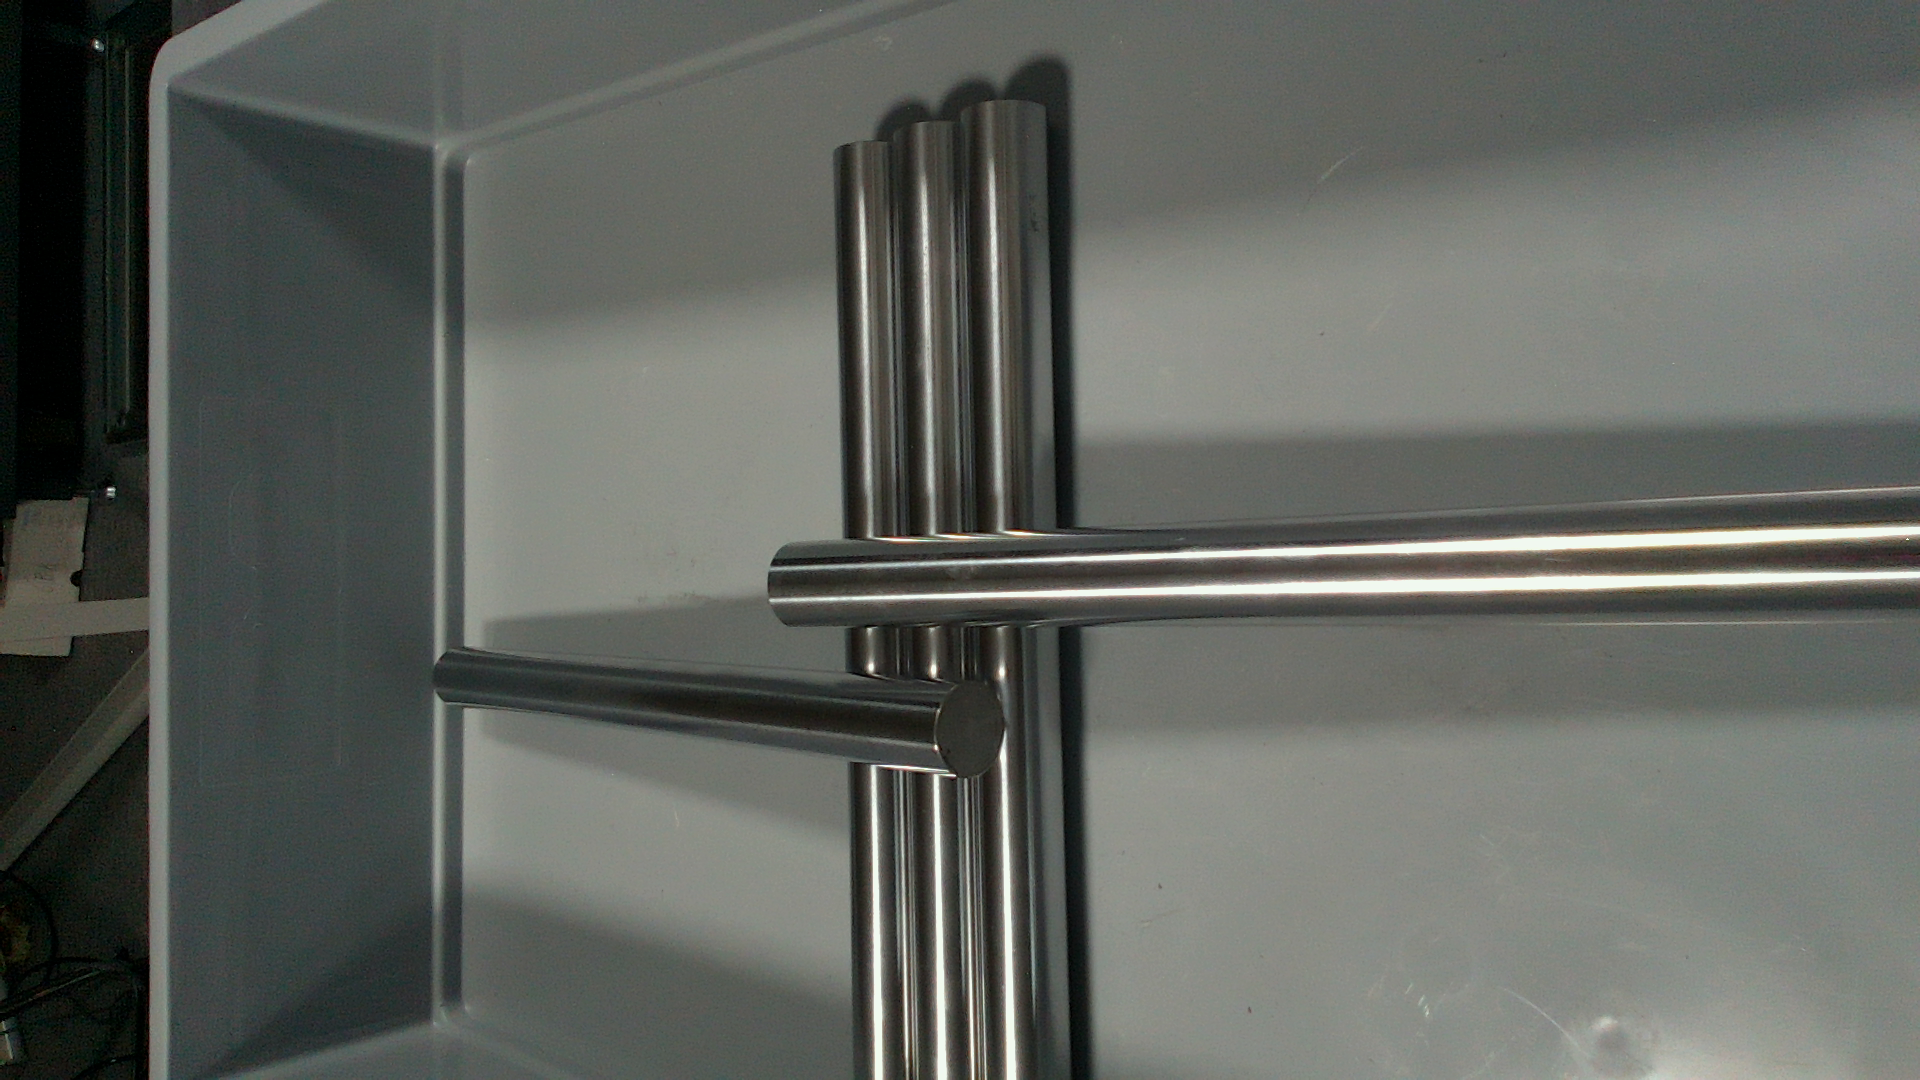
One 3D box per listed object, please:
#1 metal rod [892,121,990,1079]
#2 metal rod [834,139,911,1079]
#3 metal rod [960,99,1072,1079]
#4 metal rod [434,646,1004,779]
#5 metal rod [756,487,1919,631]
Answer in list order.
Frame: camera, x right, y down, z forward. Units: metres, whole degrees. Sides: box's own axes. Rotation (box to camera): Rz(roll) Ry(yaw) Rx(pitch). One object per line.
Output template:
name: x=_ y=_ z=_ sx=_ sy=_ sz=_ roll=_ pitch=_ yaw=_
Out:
metal rod: x=-0.004 y=0.032 z=0.397 sx=0.025 sy=0.025 sz=0.300 roll=-2 pitch=89 yaw=40
metal rod: x=-0.022 y=0.033 z=0.413 sx=0.025 sy=0.025 sz=0.300 roll=-2 pitch=89 yaw=40
metal rod: x=0.016 y=0.031 z=0.381 sx=0.025 sy=0.025 sz=0.300 roll=-2 pitch=89 yaw=40
metal rod: x=-0.101 y=0.052 z=0.458 sx=0.299 sy=0.025 sz=0.025 roll=-2 pitch=89 yaw=46
metal rod: x=0.074 y=0.008 z=0.308 sx=0.299 sy=0.025 sz=0.025 roll=-3 pitch=88 yaw=34
